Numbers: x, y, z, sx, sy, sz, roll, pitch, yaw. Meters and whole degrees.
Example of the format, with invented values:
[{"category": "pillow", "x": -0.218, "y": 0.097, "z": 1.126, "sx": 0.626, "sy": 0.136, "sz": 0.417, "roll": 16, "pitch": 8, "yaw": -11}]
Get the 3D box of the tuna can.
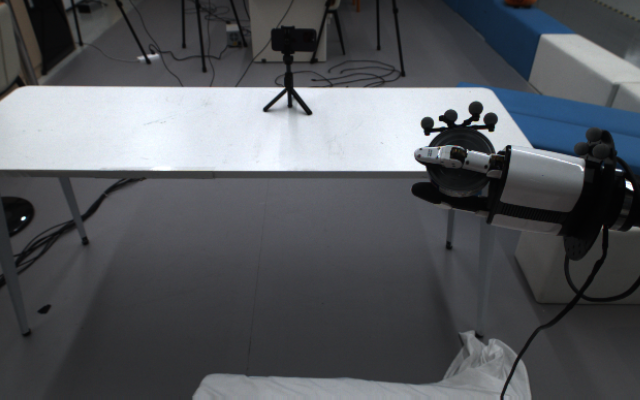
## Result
[{"category": "tuna can", "x": 0.179, "y": -0.049, "z": 0.623, "sx": 0.085, "sy": 0.034, "sz": 0.085, "roll": -4, "pitch": 73, "yaw": 15}]
